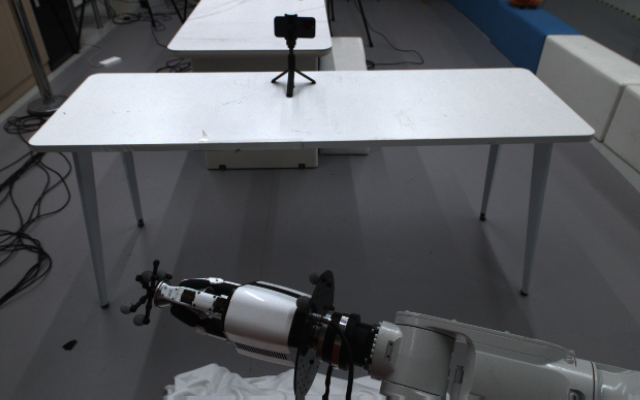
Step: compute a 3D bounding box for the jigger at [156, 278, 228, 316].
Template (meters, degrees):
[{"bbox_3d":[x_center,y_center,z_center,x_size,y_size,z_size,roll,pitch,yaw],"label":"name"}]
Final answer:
[{"bbox_3d":[-0.176,0.129,0.651,0.071,0.043,0.043,7,35,14],"label":"jigger"}]
